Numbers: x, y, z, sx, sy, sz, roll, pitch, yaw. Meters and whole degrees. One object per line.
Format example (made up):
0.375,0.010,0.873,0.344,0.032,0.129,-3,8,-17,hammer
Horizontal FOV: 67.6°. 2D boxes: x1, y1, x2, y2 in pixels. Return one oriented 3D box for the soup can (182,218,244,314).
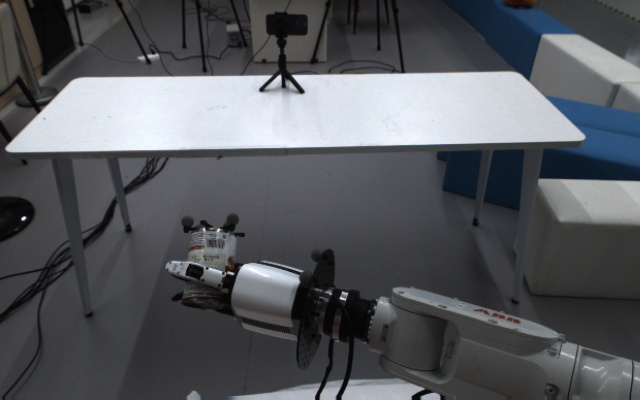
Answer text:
-0.152,0.098,0.676,0.067,0.067,0.101,1,68,-1,soup can
